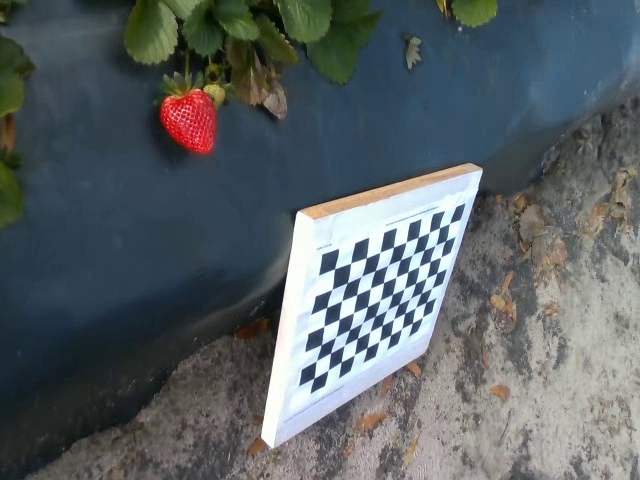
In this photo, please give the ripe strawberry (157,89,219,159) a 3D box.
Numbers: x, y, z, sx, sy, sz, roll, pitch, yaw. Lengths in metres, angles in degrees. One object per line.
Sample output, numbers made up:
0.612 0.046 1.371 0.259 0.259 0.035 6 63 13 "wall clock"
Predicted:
-0.095 -0.086 0.431 0.045 0.058 0.050 -14 -14 -44 "ripe strawberry"
